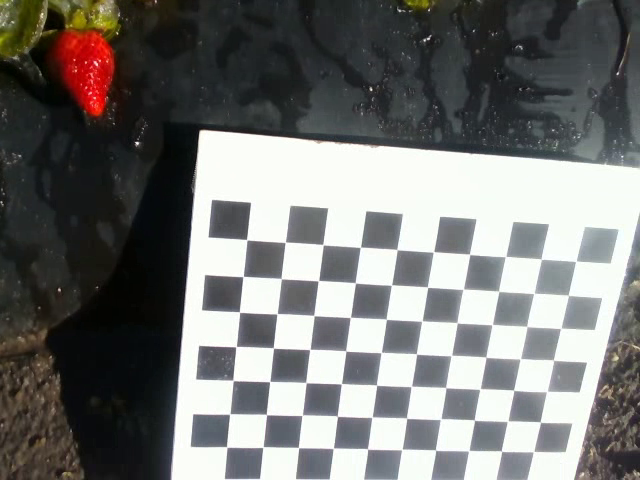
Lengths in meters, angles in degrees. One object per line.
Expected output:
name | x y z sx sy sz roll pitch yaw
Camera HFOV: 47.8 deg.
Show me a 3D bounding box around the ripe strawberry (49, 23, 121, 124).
ripe strawberry | -0.131 -0.090 0.398 0.041 0.052 0.040 -14 10 -7
